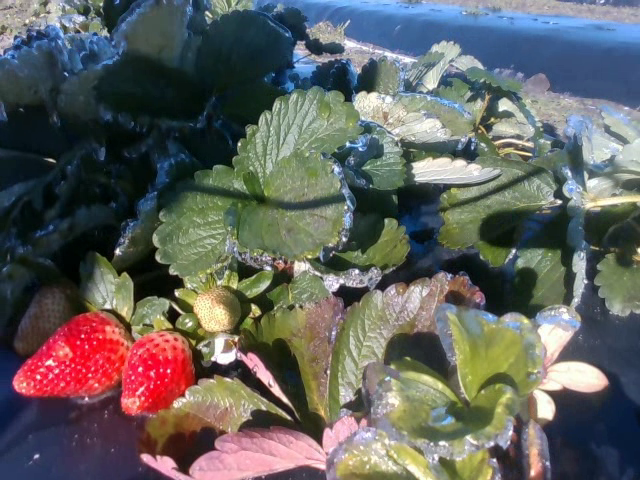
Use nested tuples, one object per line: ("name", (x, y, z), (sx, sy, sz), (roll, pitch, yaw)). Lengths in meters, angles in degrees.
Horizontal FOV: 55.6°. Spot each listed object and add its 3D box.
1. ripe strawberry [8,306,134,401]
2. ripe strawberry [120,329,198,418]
("ripe strawberry", (-0.108, 0.054, 0.257), (0.037, 0.039, 0.051), (-6, 11, 40))
("ripe strawberry", (-0.069, 0.056, 0.248), (0.036, 0.030, 0.041), (-26, 32, 22))
